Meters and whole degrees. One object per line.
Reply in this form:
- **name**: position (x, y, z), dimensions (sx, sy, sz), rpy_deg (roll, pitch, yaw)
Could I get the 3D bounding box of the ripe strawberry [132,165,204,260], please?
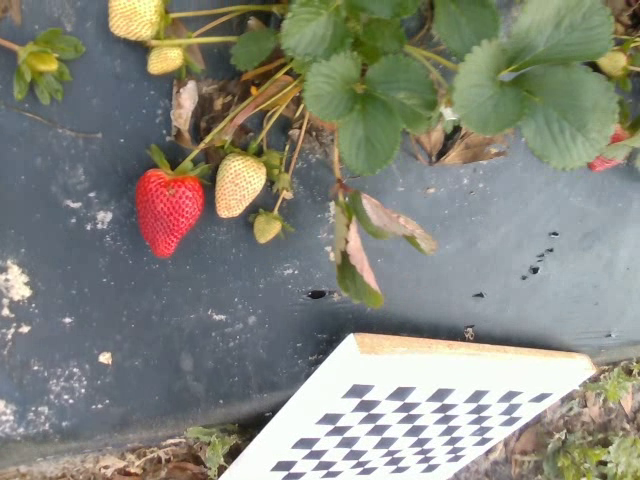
- **ripe strawberry**: position (-0.092, -0.017, 0.368), dimensions (0.050, 0.059, 0.034), rpy_deg (4, -2, -21)
